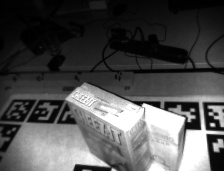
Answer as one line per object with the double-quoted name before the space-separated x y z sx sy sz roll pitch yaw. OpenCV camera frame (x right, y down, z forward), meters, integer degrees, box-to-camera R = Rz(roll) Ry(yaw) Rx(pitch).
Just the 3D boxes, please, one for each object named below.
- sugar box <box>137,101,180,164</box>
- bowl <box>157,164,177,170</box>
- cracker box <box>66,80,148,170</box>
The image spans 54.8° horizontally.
"sugar box" 0.105 0.104 0.491 0.091 0.178 0.045 15 51 30
"bowl" 0.115 0.241 0.418 0.161 0.056 0.161 -7 44 8
"cracker box" -0.008 0.103 0.498 0.162 0.215 0.072 24 53 34
